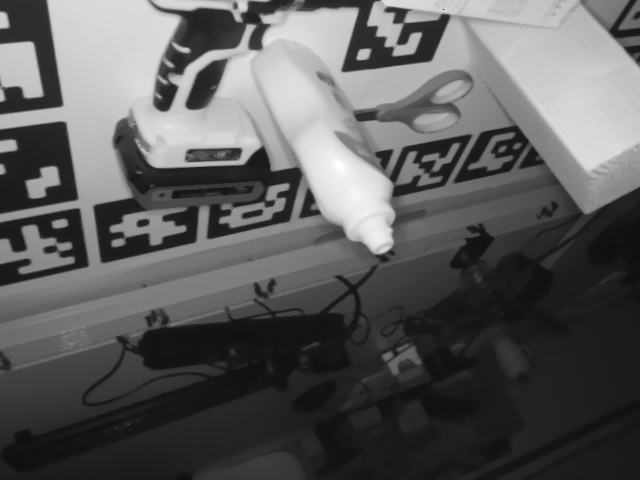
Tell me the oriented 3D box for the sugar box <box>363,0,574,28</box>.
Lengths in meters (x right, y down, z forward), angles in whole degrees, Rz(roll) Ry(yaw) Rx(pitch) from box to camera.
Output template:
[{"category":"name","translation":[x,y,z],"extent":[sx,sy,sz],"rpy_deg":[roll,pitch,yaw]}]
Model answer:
[{"category":"sugar box","translation":[0.100,-0.208,0.513],"extent":[0.179,0.093,0.044],"rpy_deg":[-4,145,-29]}]

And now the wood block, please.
[{"category":"wood block","translation":[0.218,-0.138,0.610],"extent":[0.091,0.206,0.090],"rpy_deg":[-29,147,4]}]

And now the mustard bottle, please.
[{"category":"mustard bottle","translation":[0.009,-0.071,0.561],"extent":[0.058,0.191,0.097],"rpy_deg":[-36,146,14]}]

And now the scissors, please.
[{"category":"scissors","translation":[0.098,-0.124,0.701],"extent":[0.205,0.016,0.086],"rpy_deg":[-12,149,-23]}]

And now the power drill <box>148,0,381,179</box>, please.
[{"category":"power drill","translation":[-0.050,-0.136,0.535],"extent":[0.187,0.057,0.184],"rpy_deg":[-5,135,-32]}]
